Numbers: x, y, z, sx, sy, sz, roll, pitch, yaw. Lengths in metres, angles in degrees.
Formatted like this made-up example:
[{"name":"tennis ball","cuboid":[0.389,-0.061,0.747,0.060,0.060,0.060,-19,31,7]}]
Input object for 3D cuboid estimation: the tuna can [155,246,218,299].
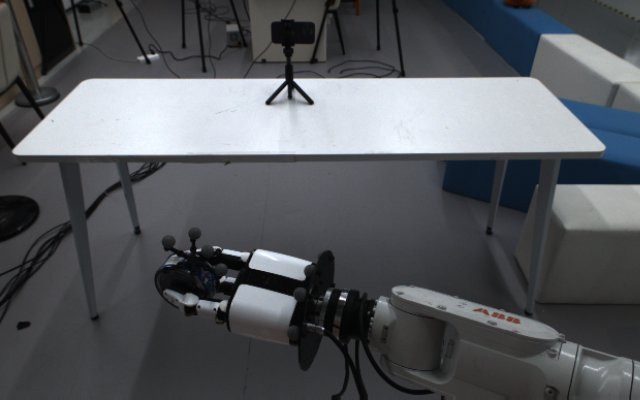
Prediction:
[{"name":"tuna can","cuboid":[-0.185,0.117,0.677,0.085,0.085,0.034,12,35,14]}]
